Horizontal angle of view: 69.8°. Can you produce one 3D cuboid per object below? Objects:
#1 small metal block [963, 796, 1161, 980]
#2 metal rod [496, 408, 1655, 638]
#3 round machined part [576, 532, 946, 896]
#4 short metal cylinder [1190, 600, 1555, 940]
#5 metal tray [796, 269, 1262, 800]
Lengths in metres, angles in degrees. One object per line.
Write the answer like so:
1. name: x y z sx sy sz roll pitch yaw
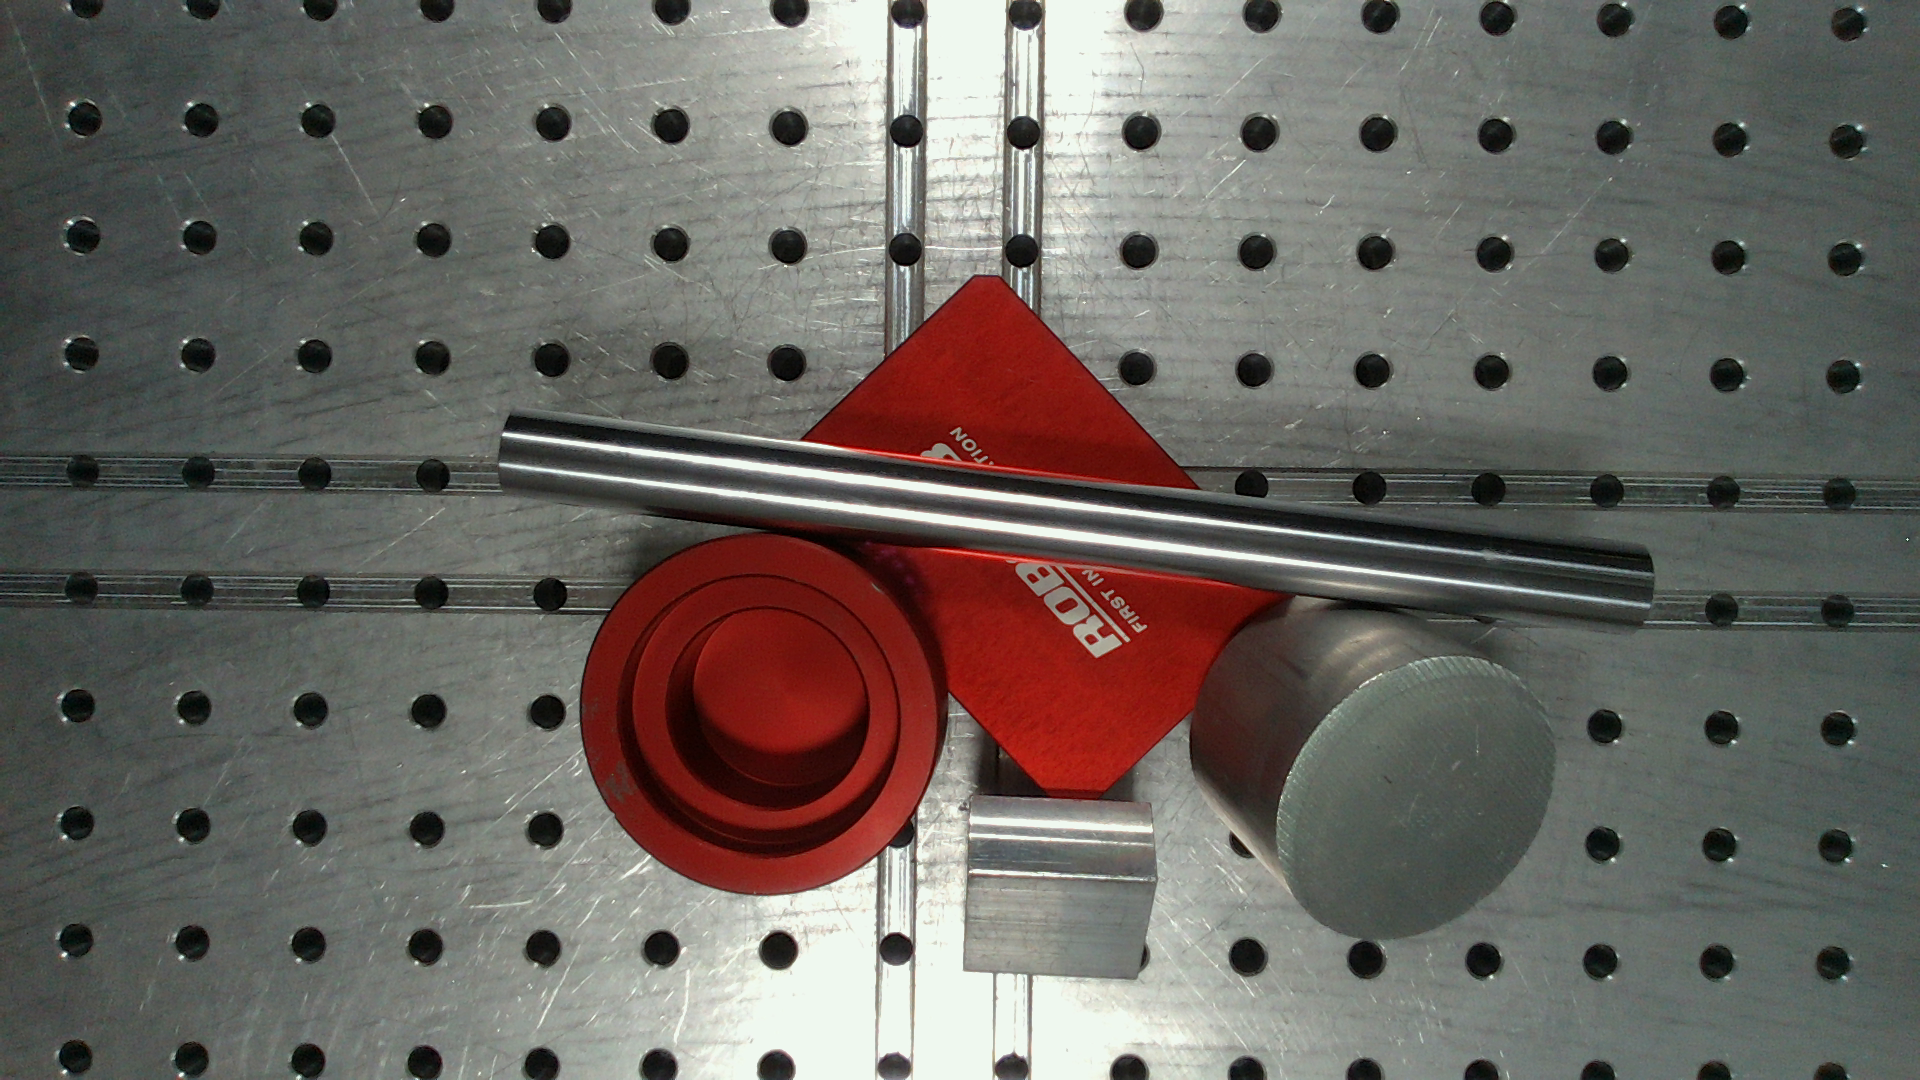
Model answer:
1. small metal block: 0.027 0.098 0.385 0.050 0.025 0.050 2 133 -1
2. metal rod: 0.030 -0.004 0.366 0.300 0.025 0.025 7 90 0
3. round machined part: -0.052 0.045 0.384 0.098 0.042 0.098 1 96 5
4. short metal cylinder: 0.109 0.059 0.371 0.080 0.050 0.080 -6 110 -16
5. metal tray: 0.020 -0.001 0.396 0.090 0.030 0.130 -43 90 0
